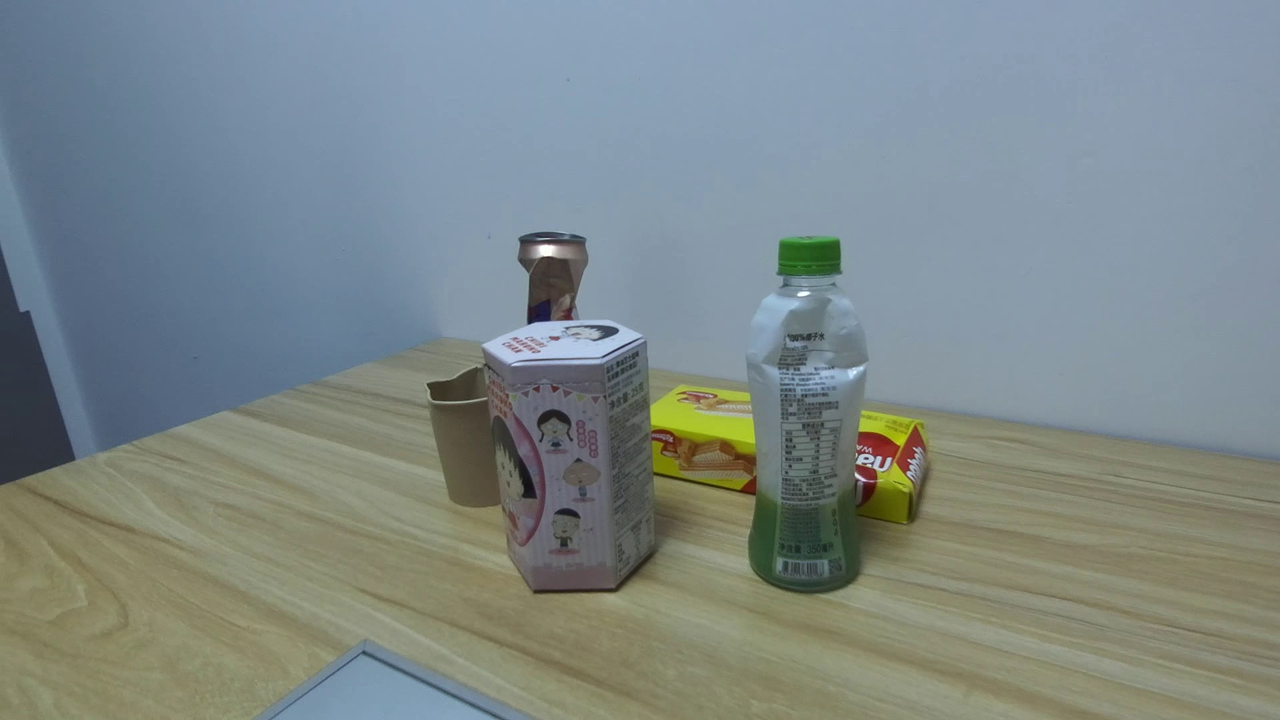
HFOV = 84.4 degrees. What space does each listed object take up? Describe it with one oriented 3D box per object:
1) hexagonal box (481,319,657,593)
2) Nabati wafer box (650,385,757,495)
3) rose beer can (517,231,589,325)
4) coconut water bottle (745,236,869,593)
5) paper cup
[{"bbox_3d":[-0.039,0.053,0.405,0.084,0.136,0.091,-11,20,-27],"label":"hexagonal box"},{"bbox_3d":[0.102,0.062,0.520,0.202,0.042,0.097,7,18,27],"label":"Nabati wafer box"},{"bbox_3d":[-0.069,-0.022,0.598,0.065,0.167,0.076,3,15,5],"label":"rose beer can"},{"bbox_3d":[0.090,0.028,0.380,0.067,0.187,0.067,-2,16,1],"label":"coconut water bottle"},{"bbox_3d":[-0.114,0.058,0.505,0.073,0.081,0.068,-8,15,-14],"label":"paper cup"}]
